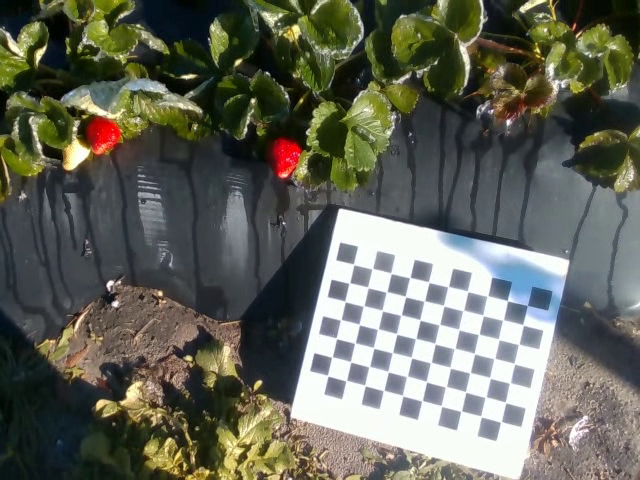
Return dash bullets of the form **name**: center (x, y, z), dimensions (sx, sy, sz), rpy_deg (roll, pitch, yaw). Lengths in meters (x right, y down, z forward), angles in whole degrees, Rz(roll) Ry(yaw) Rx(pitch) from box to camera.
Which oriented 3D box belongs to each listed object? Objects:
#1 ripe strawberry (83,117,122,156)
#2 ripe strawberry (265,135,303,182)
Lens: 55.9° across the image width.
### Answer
- **ripe strawberry**: center (-0.232, -0.106, 0.627), dimensions (0.037, 0.040, 0.051), rpy_deg (-1, 40, 6)
- **ripe strawberry**: center (-0.037, -0.082, 0.606), dimensions (0.041, 0.053, 0.047), rpy_deg (7, -40, 6)
